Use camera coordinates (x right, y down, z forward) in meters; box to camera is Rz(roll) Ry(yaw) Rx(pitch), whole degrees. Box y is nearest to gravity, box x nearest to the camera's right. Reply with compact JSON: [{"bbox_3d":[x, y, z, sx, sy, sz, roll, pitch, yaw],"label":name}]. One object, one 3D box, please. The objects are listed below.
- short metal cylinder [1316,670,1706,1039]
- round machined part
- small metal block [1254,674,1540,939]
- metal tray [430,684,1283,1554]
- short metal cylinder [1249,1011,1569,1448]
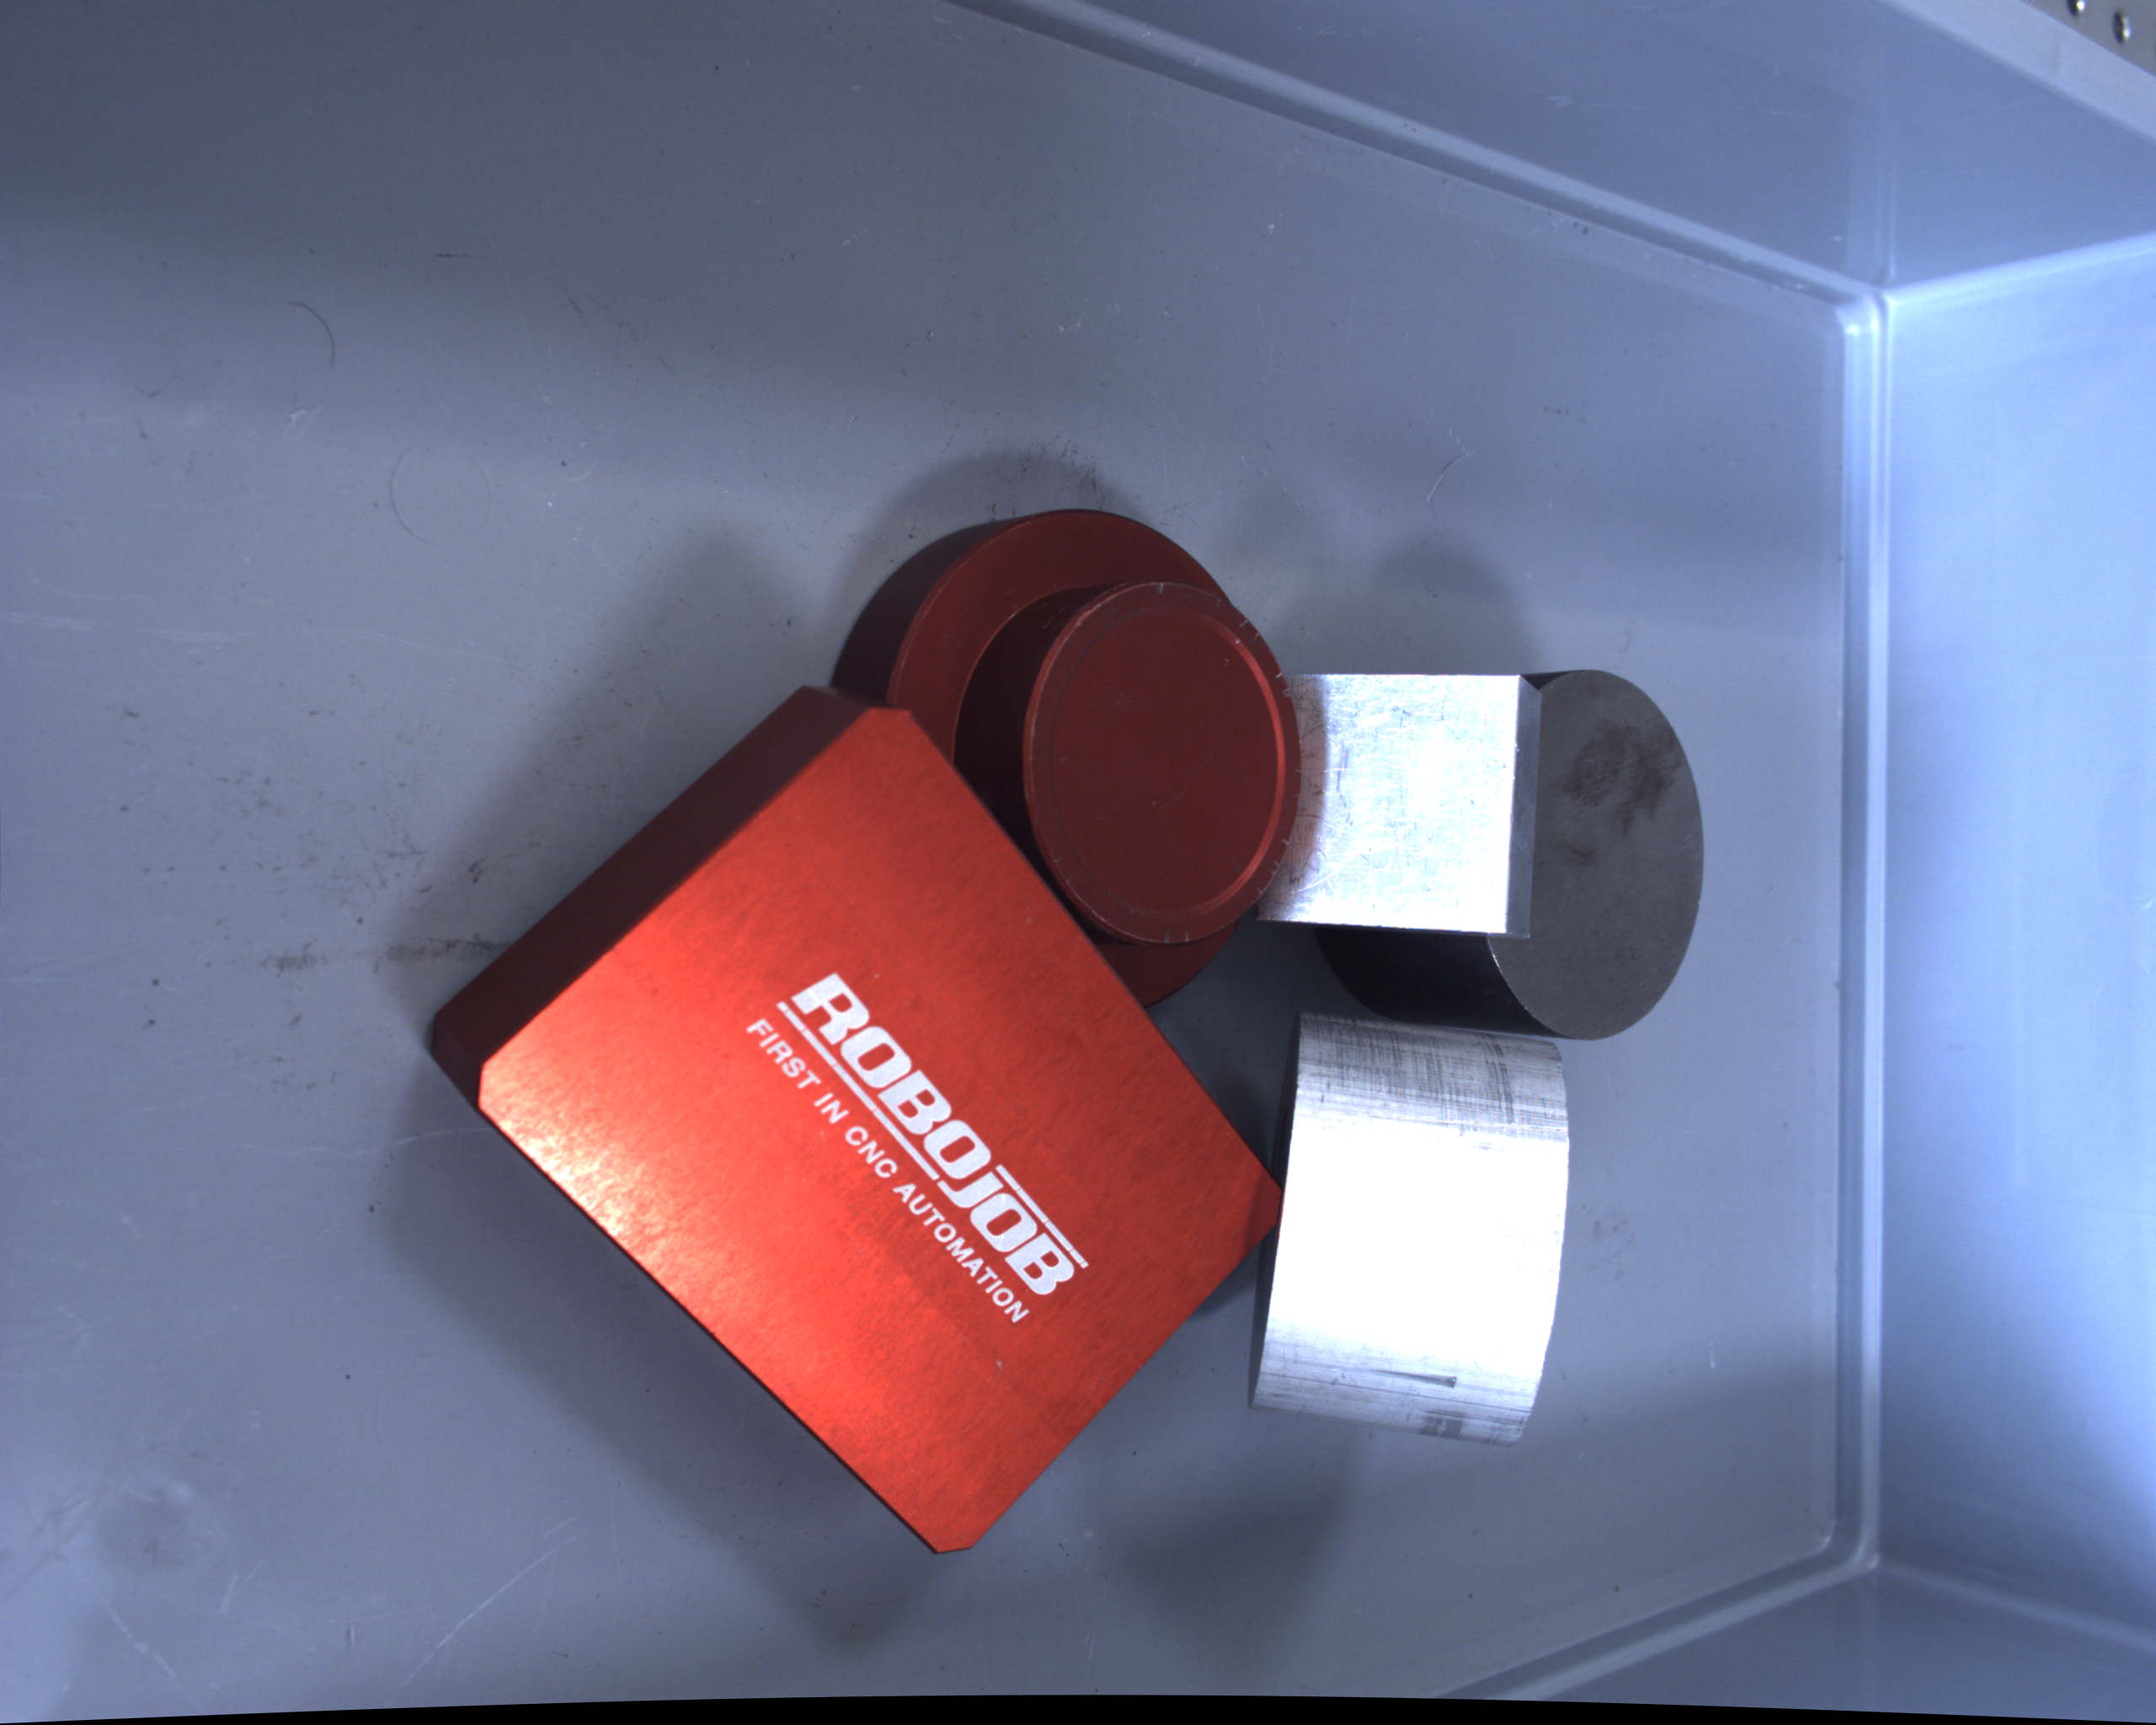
[{"bbox_3d":[0.096,-0.002,0.470,0.081,0.050,0.079,0,90,-40],"label":"short metal cylinder"},{"bbox_3d":[0.004,-0.019,0.396,0.099,0.042,0.097,0,90,-40],"label":"round machined part"},{"bbox_3d":[0.065,-0.011,0.419,0.025,0.050,0.050,13,80,-68],"label":"small metal block"},{"bbox_3d":[-0.033,0.045,0.359,0.090,0.030,0.130,-44,118,-14],"label":"metal tray"},{"bbox_3d":[0.064,0.072,0.415,0.050,0.080,0.080,7,84,4],"label":"short metal cylinder"}]
